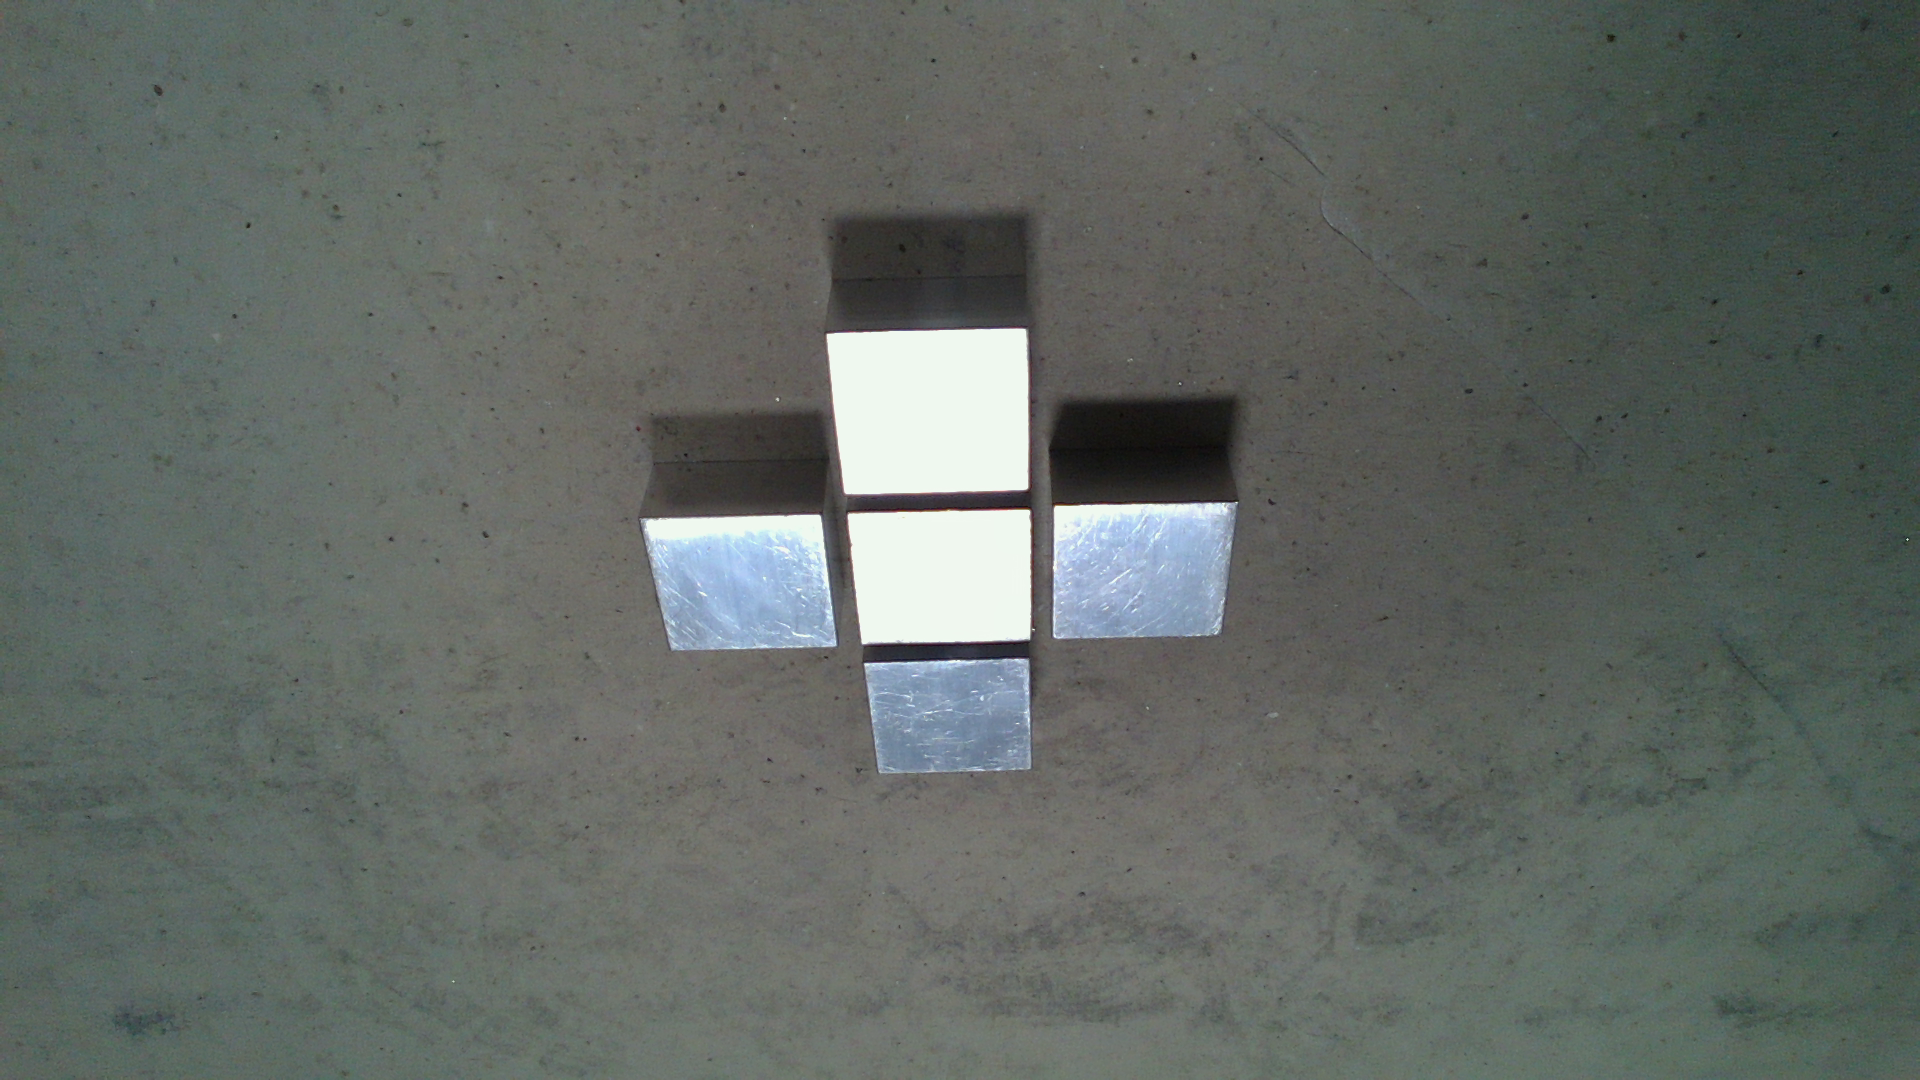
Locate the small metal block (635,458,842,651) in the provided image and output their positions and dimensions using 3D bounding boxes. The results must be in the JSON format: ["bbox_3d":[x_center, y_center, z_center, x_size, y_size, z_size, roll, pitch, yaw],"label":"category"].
[{"bbox_3d":[-0.061,0.005,0.394,0.050,0.025,0.050,-2,130,1],"label":"small metal block"}]

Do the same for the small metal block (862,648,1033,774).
[{"bbox_3d":[-0.003,0.046,0.430,0.050,0.025,0.050,-2,130,1],"label":"small metal block"}]

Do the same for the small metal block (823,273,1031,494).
[{"bbox_3d":[-0.007,-0.040,0.357,0.050,0.025,0.050,-2,130,1],"label":"small metal block"}]

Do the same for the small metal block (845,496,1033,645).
[{"bbox_3d":[-0.005,0.003,0.393,0.050,0.025,0.050,-2,130,1],"label":"small metal block"}]

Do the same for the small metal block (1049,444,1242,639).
[{"bbox_3d":[0.051,0.001,0.392,0.050,0.025,0.050,-2,130,1],"label":"small metal block"}]
